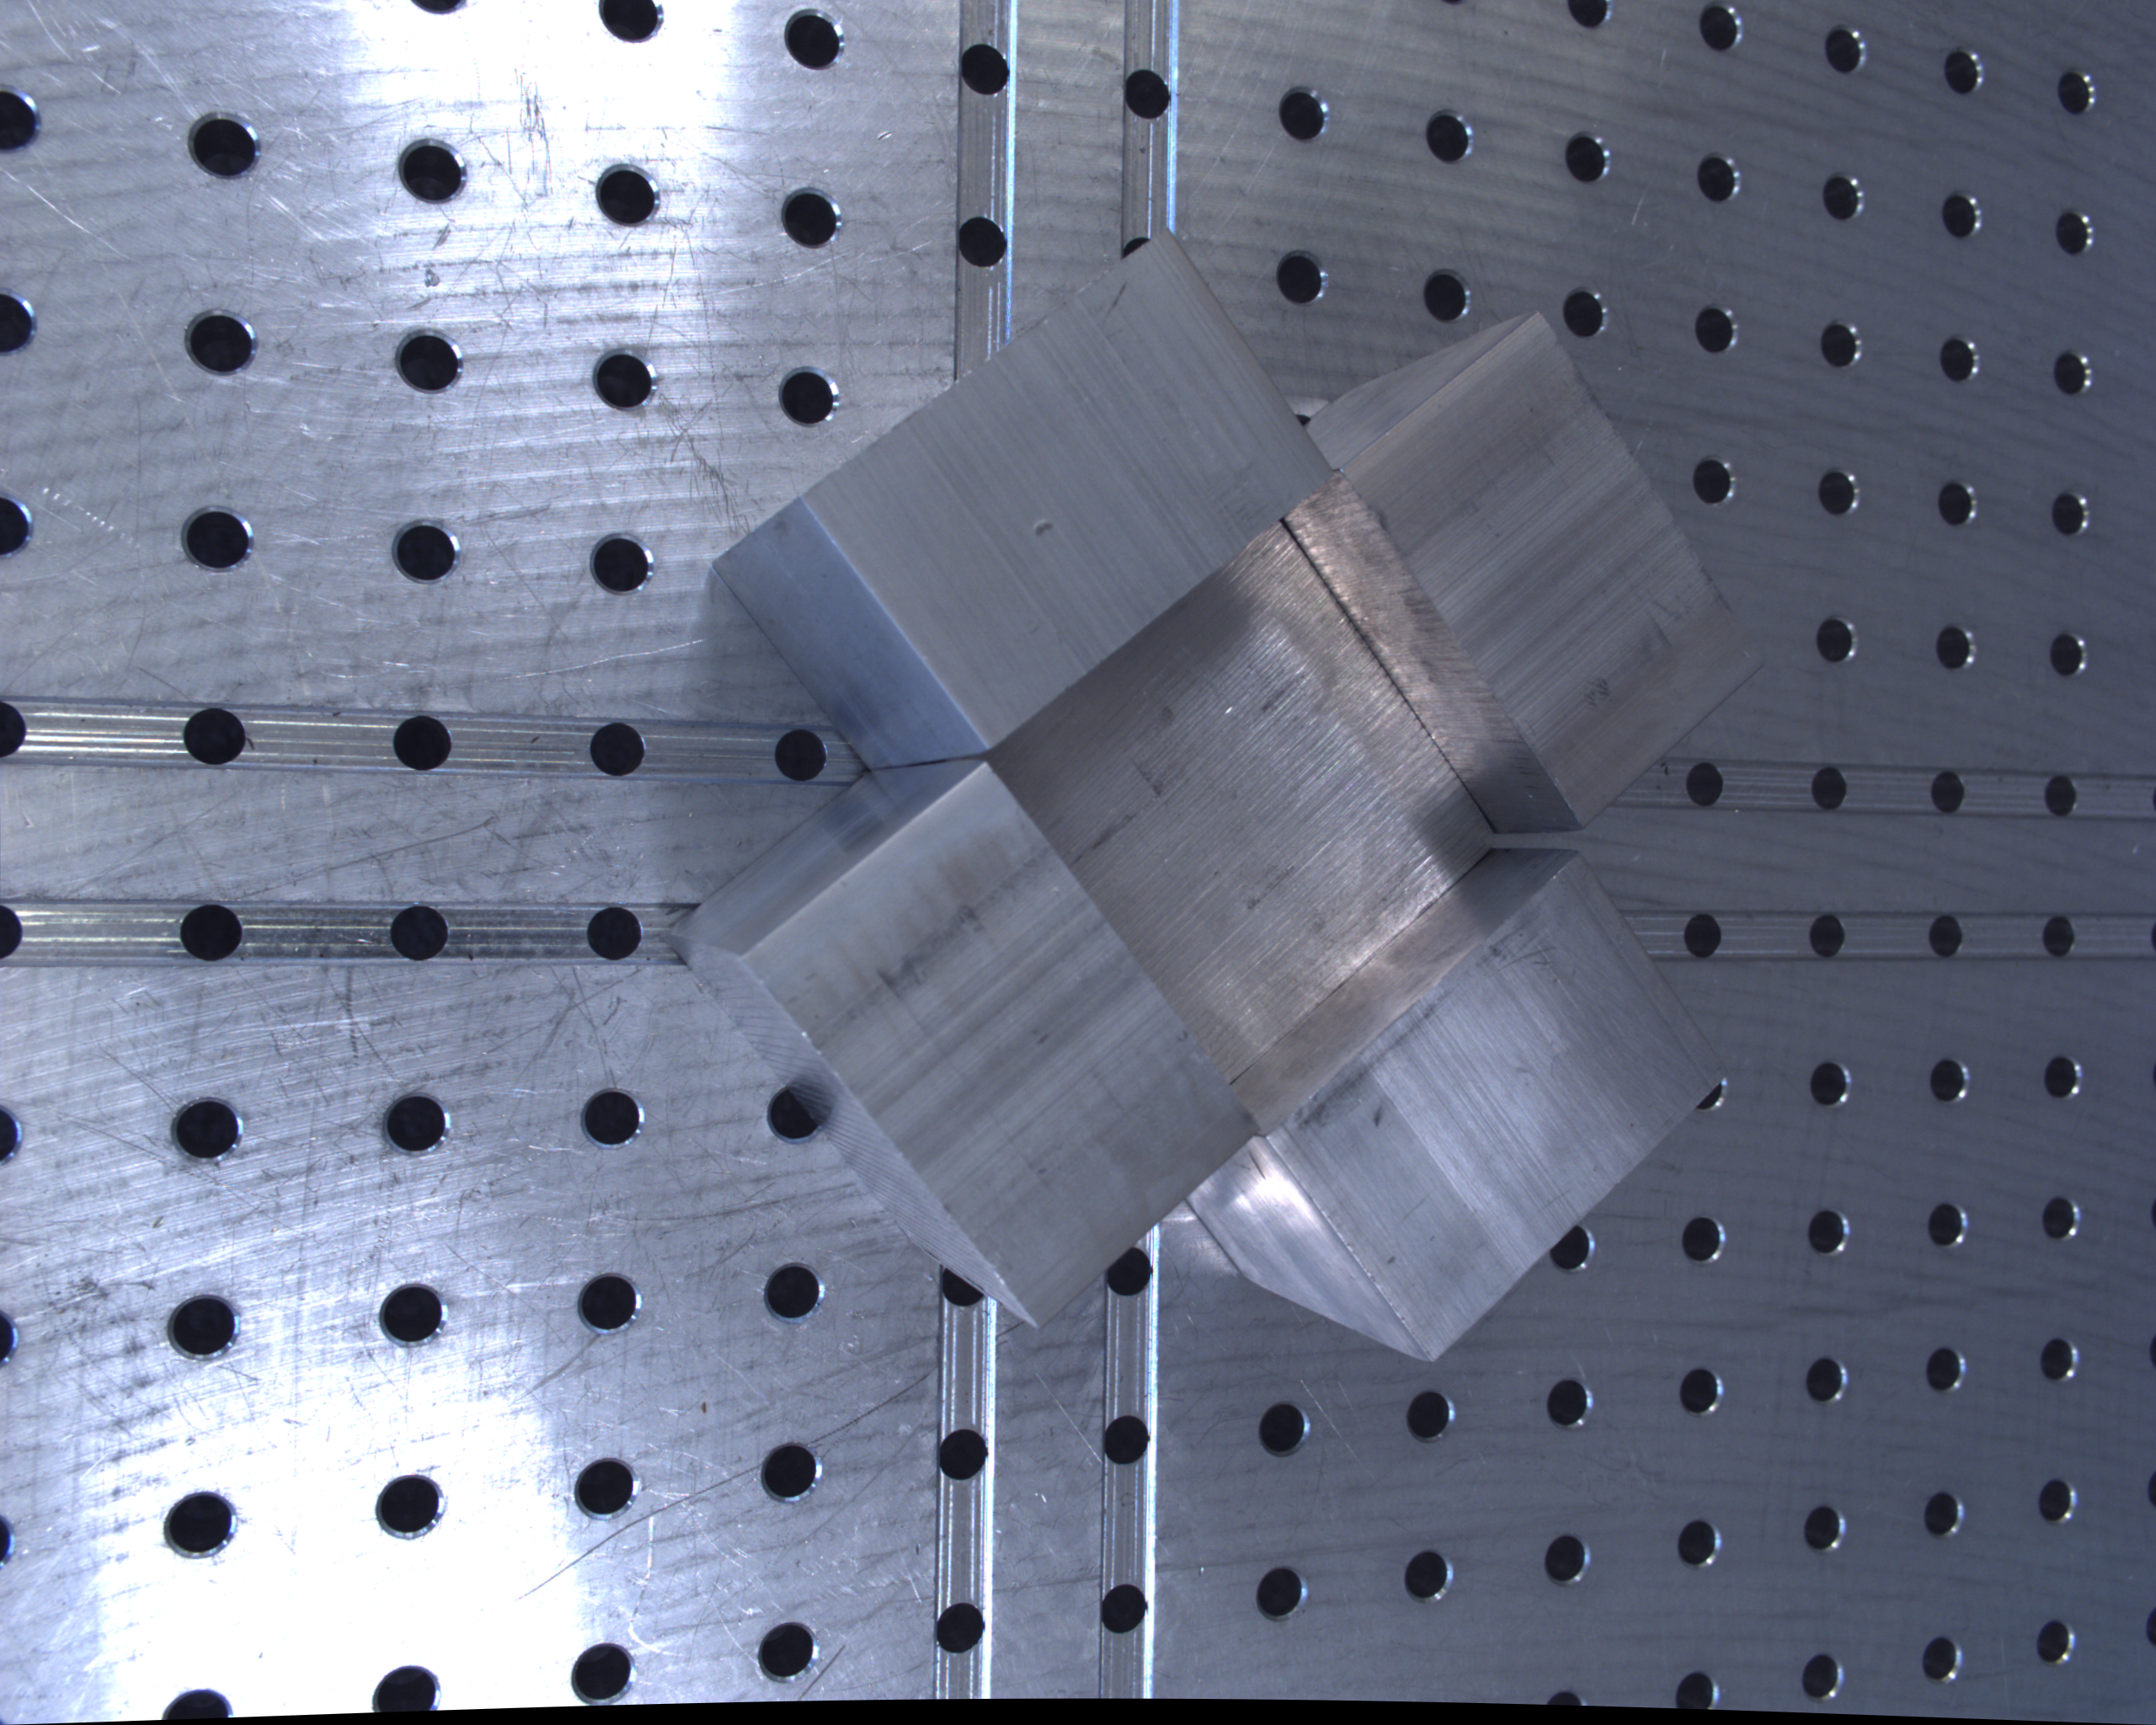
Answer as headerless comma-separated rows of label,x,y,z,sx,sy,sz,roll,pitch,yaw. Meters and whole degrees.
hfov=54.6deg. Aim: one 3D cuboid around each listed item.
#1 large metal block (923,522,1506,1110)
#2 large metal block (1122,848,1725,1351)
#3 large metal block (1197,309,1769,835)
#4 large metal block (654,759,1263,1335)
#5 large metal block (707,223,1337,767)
large metal block,0.020,-0.011,0.405,0.080,0.050,0.080,-40,101,-14
large metal block,0.061,0.041,0.407,0.080,0.080,0.050,-39,103,-16
large metal block,0.073,-0.052,0.410,0.050,0.080,0.080,-41,103,-16
large metal block,-0.025,0.030,0.374,0.050,0.080,0.080,-41,103,-15
large metal block,-0.014,-0.062,0.378,0.080,0.080,0.050,-40,103,-15
